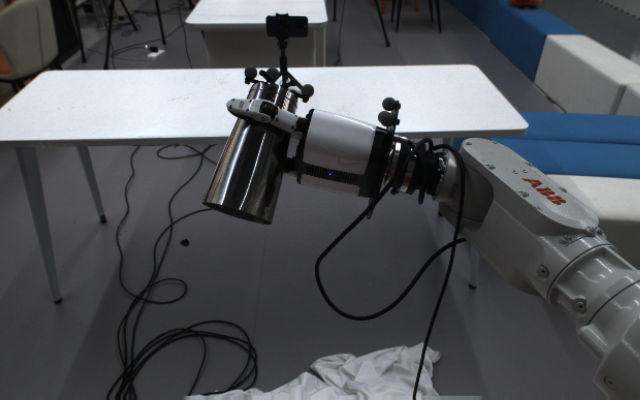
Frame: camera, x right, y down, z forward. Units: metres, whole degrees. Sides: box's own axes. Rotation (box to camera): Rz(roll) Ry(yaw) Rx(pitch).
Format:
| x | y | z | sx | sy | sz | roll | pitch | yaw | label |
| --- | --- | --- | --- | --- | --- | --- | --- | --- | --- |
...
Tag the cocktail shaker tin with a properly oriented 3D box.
| x | y | z | sx | sy | sz | roll | pitch | yaw | label |
| --- | --- | --- | --- | --- | --- | --- | --- | --- | --- |
| -0.081 | -0.064 | 0.634 | 0.093 | 0.093 | 0.170 | 13 | 79 | 15 | cocktail shaker tin |
